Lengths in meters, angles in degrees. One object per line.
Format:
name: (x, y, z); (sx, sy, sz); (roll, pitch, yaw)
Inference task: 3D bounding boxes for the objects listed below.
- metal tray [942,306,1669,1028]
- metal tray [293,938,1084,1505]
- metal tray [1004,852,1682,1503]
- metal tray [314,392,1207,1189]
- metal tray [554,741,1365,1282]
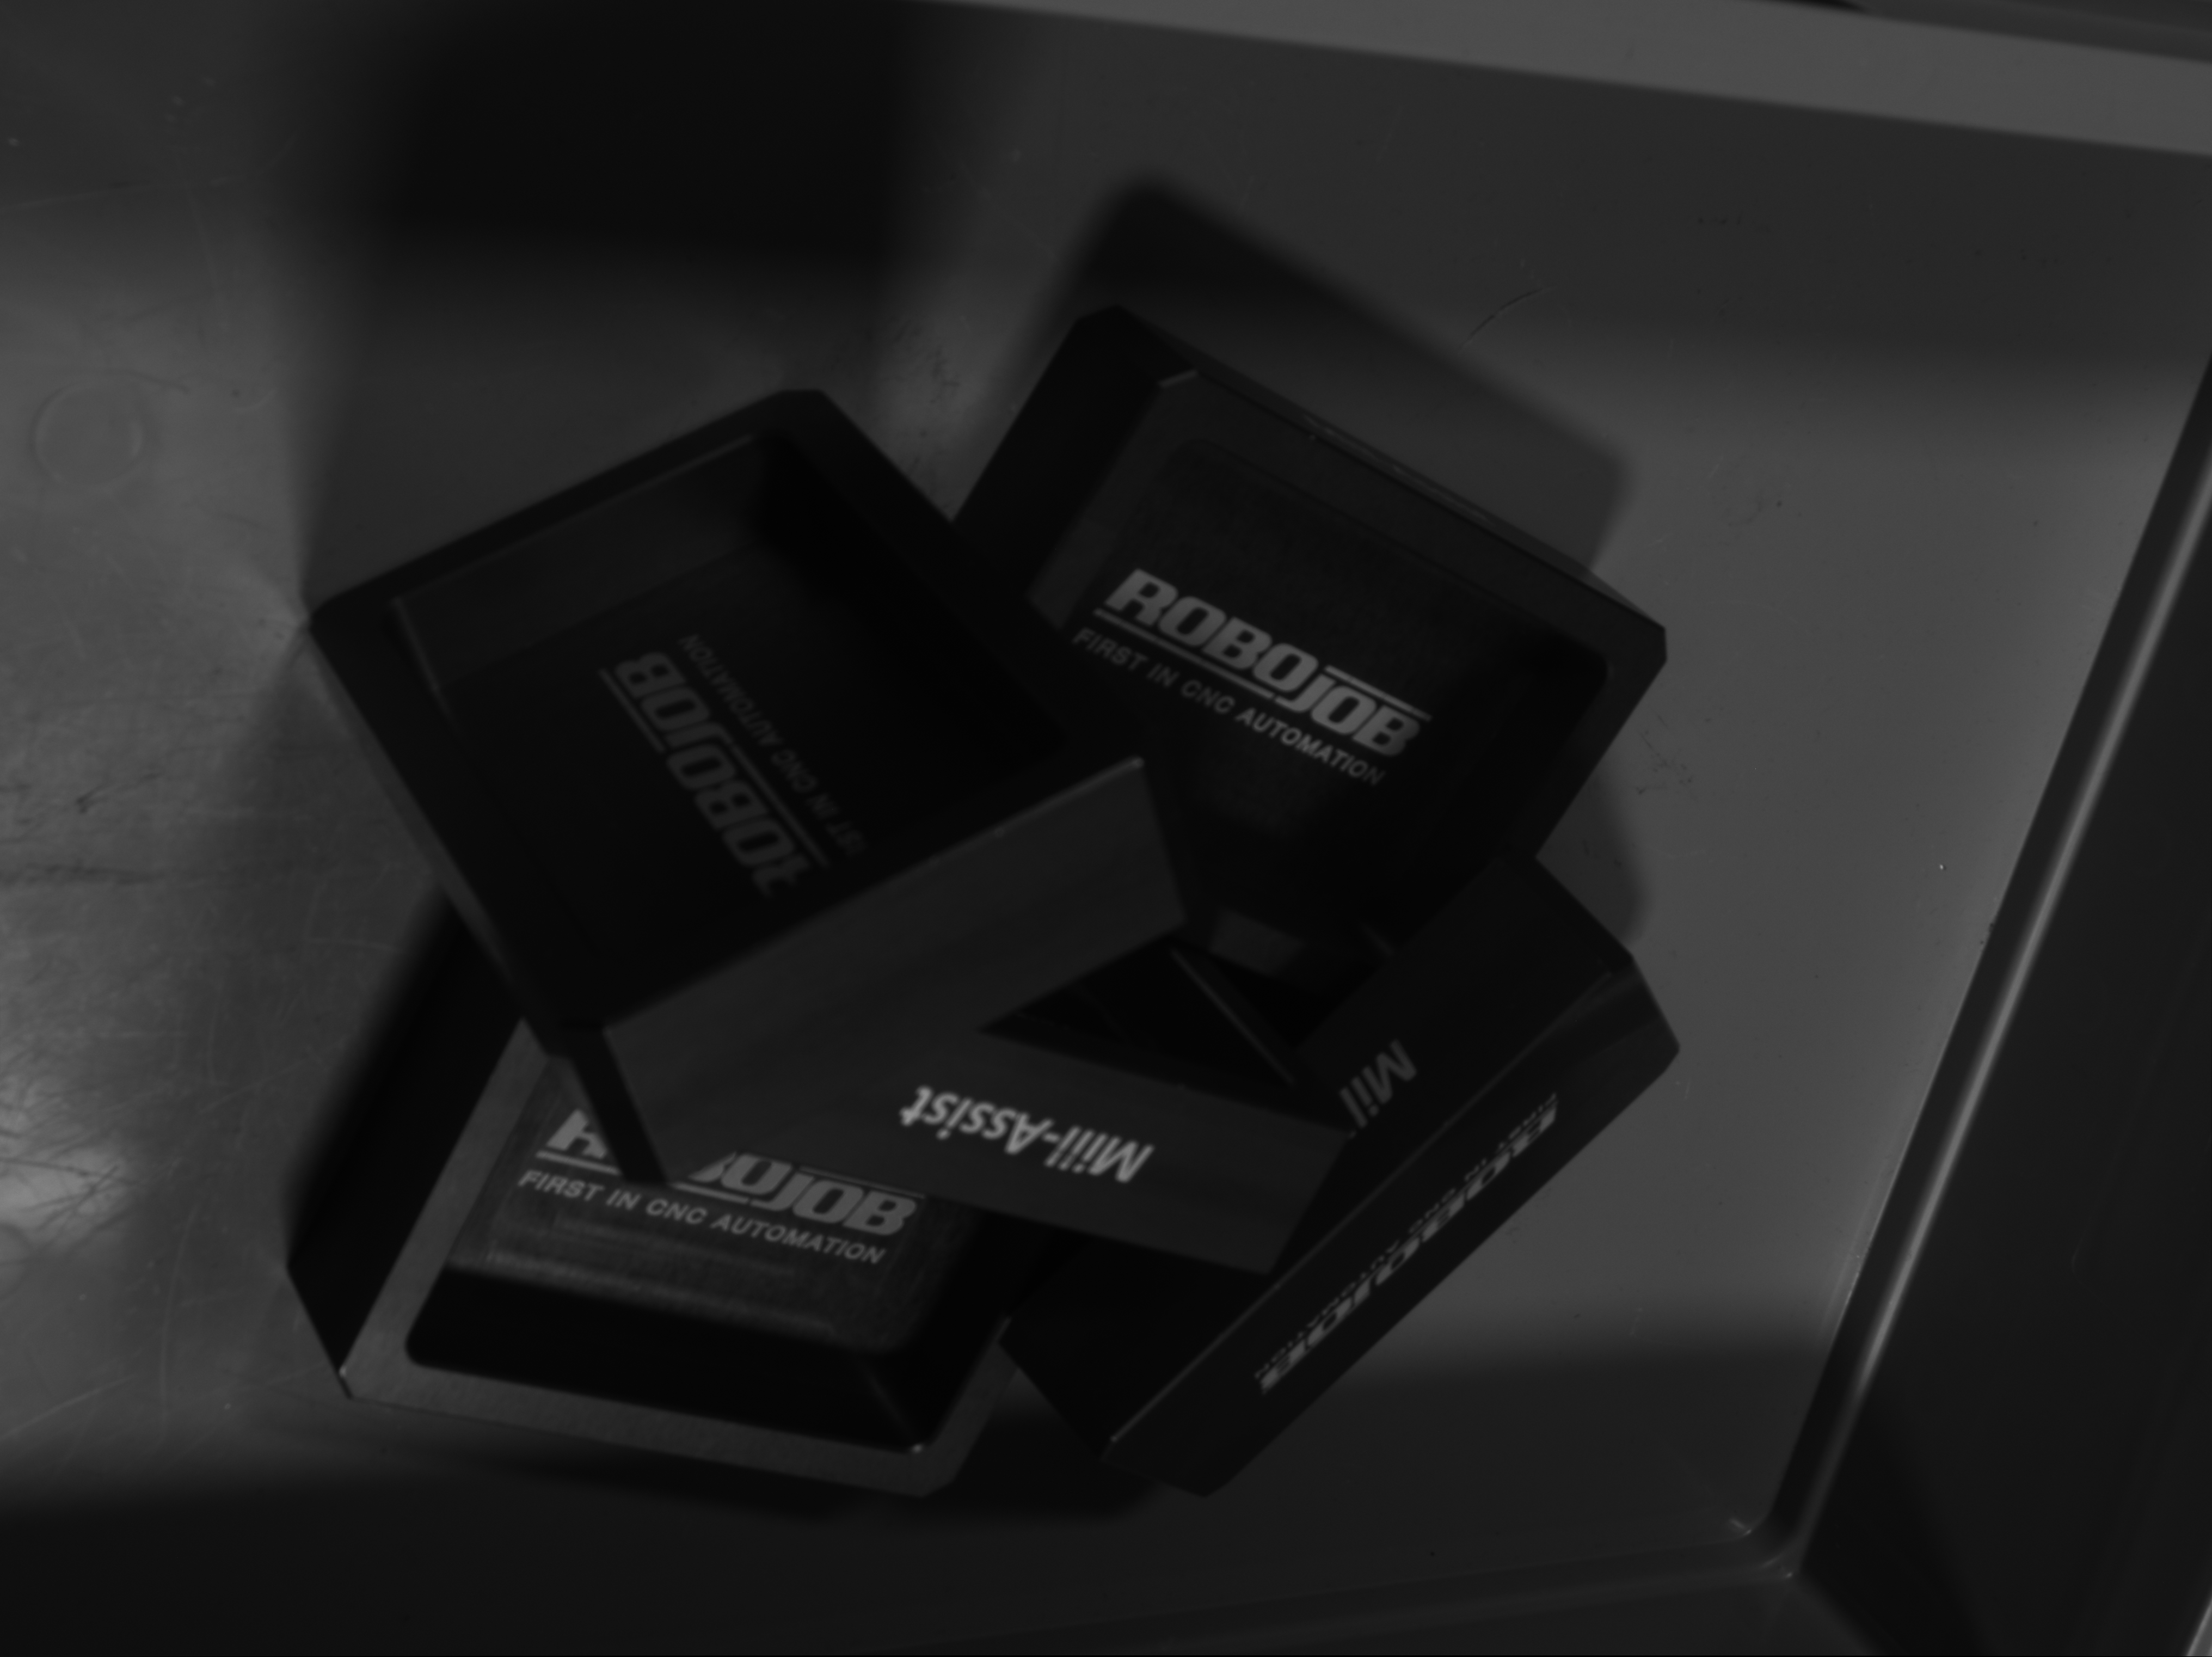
metal tray: (0.028, -0.025, 0.647); (0.130, 0.030, 0.090); (24, 105, -38)
metal tray: (-0.065, 0.067, 0.648); (0.130, 0.030, 0.090); (18, 108, -37)
metal tray: (0.048, 0.069, 0.691); (0.130, 0.030, 0.090); (-43, 159, 0)
metal tray: (-0.054, -0.011, 0.541); (0.090, 0.130, 0.030); (-27, 129, -13)
metal tray: (-0.031, 0.028, 0.604); (0.130, 0.090, 0.030); (17, 109, -37)
